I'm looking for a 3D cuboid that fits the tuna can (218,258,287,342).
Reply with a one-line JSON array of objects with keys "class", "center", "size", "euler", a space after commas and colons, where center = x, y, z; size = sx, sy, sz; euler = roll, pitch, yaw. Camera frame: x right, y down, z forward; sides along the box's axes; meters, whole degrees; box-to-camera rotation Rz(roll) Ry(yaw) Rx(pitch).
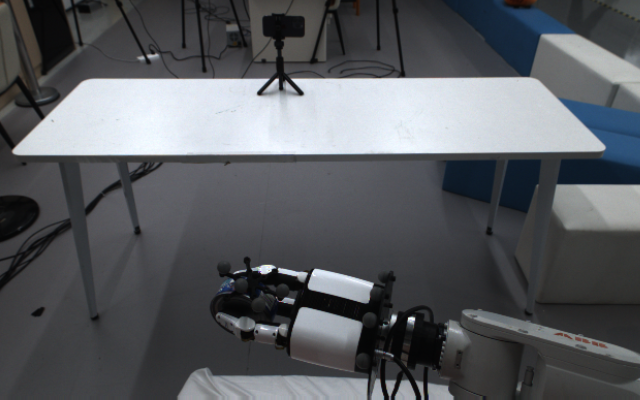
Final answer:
[{"class": "tuna can", "center": [-0.098, 0.144, 0.645], "size": [0.085, 0.085, 0.034], "euler": [9, 35, 10]}]
